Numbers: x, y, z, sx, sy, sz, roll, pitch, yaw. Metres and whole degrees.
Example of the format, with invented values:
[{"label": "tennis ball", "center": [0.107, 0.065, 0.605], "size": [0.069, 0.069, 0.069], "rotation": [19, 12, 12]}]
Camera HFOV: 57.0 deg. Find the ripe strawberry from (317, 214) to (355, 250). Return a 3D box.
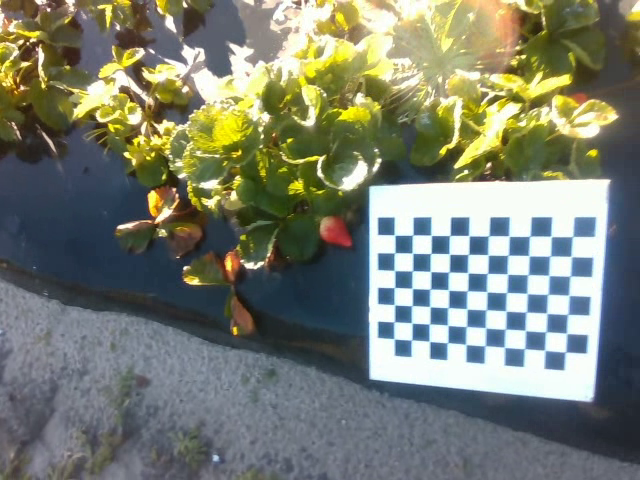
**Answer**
[{"label": "ripe strawberry", "center": [0.022, -0.007, 0.860], "size": [0.065, 0.040, 0.040], "rotation": [42, 16, 8]}]
